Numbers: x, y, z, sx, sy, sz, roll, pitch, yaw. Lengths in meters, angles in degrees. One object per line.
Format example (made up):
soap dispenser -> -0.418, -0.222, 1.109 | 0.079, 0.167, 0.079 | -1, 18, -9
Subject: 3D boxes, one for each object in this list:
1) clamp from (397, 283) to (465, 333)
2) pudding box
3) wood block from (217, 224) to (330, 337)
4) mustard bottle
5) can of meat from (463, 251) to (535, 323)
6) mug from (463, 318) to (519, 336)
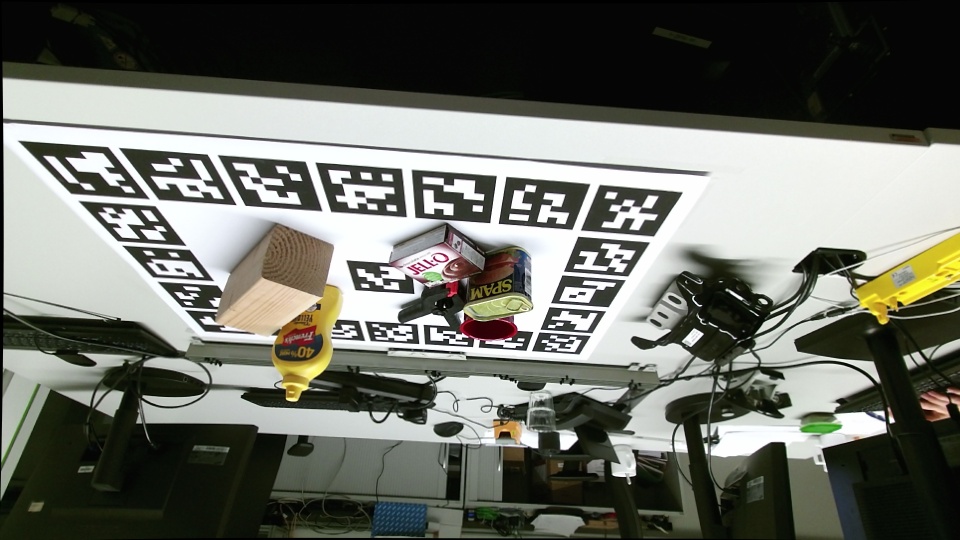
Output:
clamp -> -0.072, 0.072, 0.933 | 0.122, 0.036, 0.165 | 15, 144, -16
pudding box -> -0.068, -0.015, 0.787 | 0.114, 0.038, 0.090 | -19, 141, 33
wood block -> -0.324, 0.025, 0.826 | 0.090, 0.090, 0.206 | 24, 144, -33
mustard bottle -> -0.290, 0.129, 0.885 | 0.096, 0.190, 0.058 | 0, 147, 3
can of meat -> 0.028, 0.026, 0.792 | 0.102, 0.083, 0.058 | -14, 143, 24
mug -> 0.012, 0.059, 0.898 | 0.094, 0.081, 0.117 | 16, 144, -20
